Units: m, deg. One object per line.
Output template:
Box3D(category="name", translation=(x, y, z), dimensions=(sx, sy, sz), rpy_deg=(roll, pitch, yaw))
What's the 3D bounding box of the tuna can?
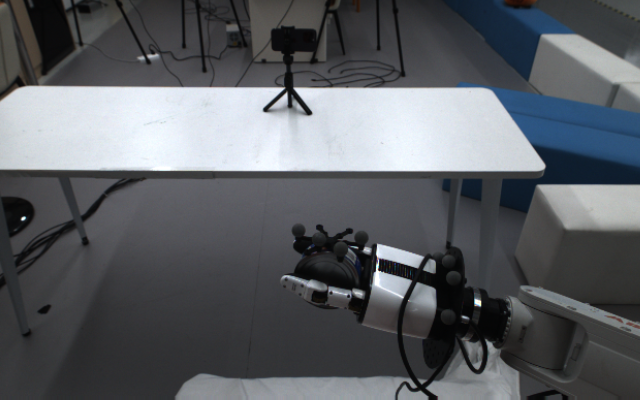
Box3D(category="tuna can", translation=(0.013, 0.095, 0.625), dimensions=(0.085, 0.085, 0.034), rpy_deg=(9, 23, 10))
